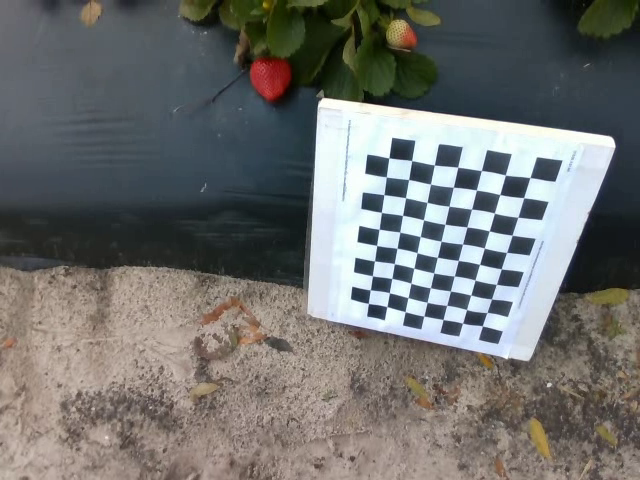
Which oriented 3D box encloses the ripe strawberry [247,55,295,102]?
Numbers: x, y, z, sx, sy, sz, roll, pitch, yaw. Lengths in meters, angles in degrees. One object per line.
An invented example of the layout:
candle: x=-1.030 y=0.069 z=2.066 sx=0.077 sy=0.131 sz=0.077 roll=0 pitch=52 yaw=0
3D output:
ripe strawberry: x=-0.045 y=-0.138 z=0.553 sx=0.036 sy=0.046 sz=0.037 roll=13 pitch=-32 yaw=-44
